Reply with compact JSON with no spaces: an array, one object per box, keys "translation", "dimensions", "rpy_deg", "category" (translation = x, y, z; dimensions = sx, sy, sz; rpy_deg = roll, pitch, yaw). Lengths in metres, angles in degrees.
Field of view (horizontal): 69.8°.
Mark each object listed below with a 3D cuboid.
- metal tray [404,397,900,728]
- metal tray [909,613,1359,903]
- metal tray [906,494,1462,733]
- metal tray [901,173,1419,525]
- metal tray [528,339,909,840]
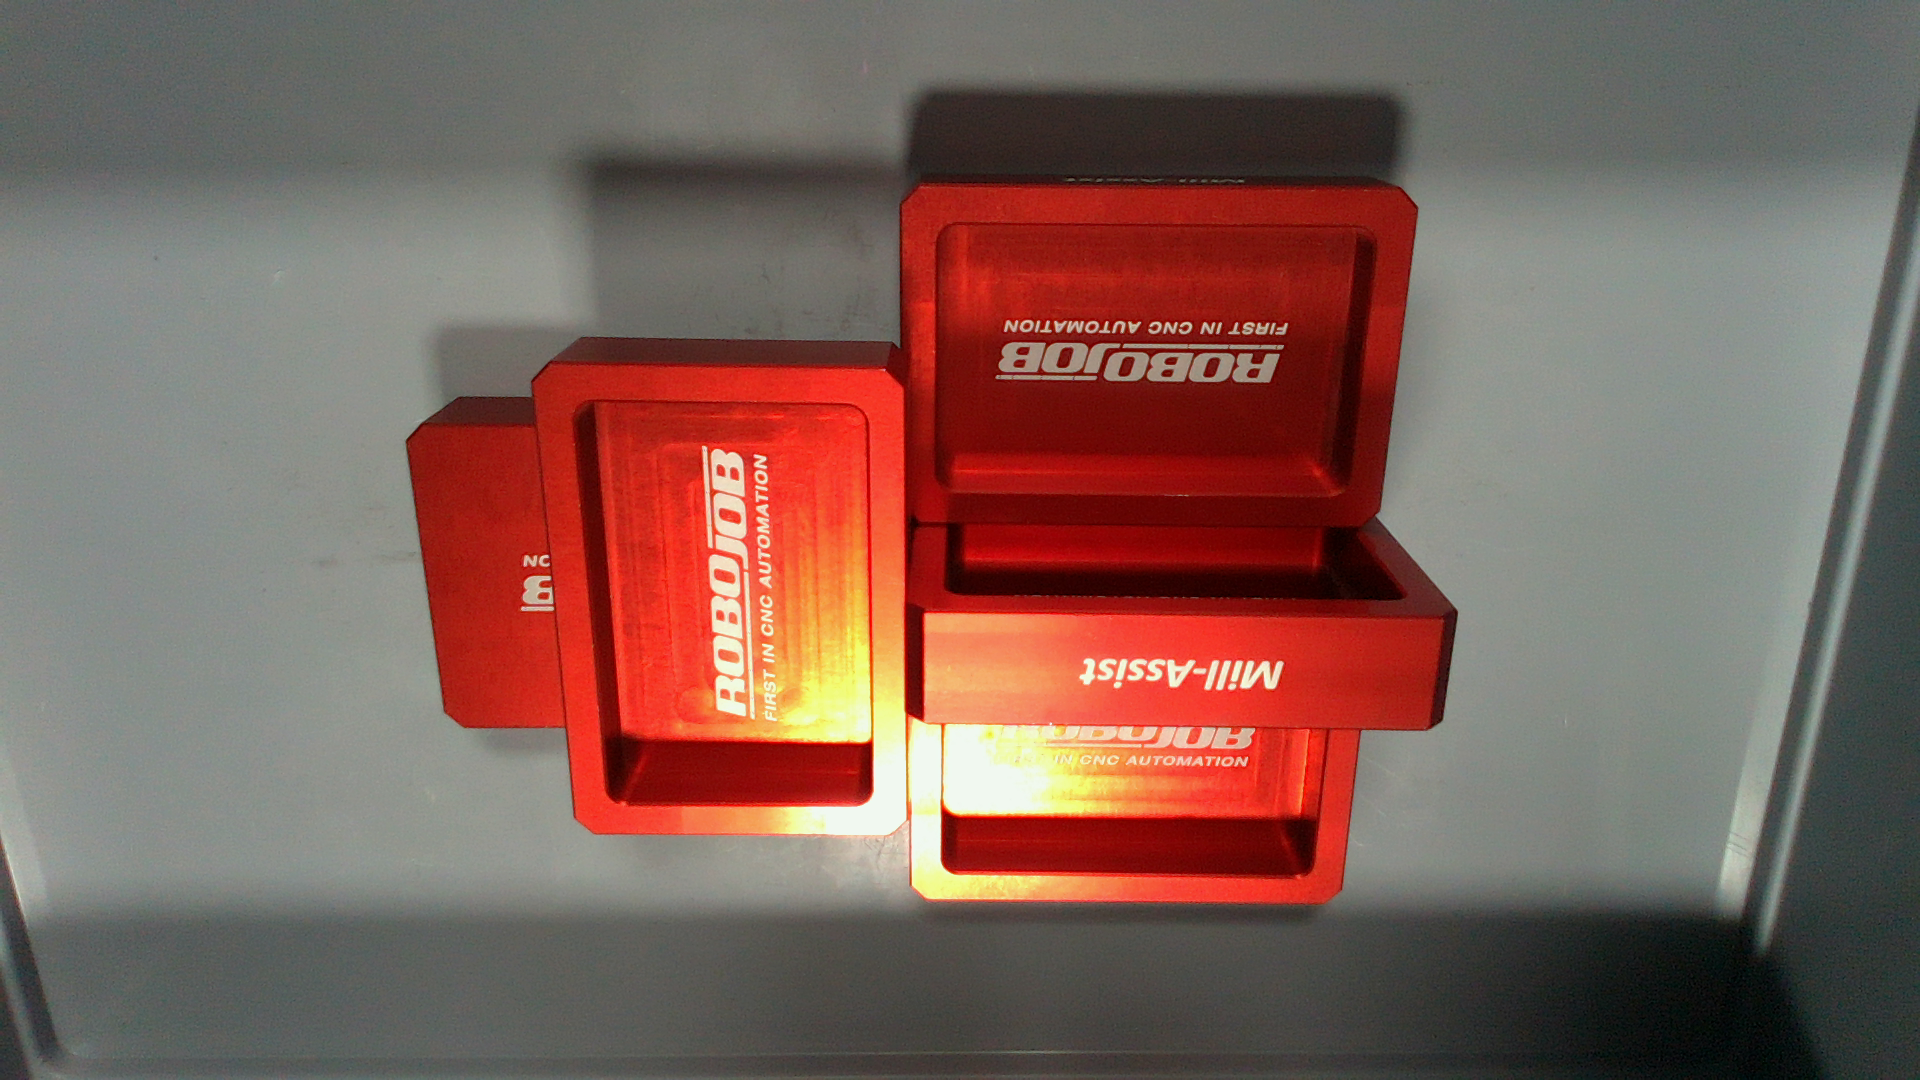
[{"translation":[-0.082,0.007,0.390],"dimensions":[0.130,0.030,0.090],"rpy_deg":[0,110,0],"category":"metal tray"},{"translation":[0.050,0.062,0.413],"dimensions":[0.130,0.030,0.090],"rpy_deg":[1,110,0],"category":"metal tray"},{"translation":[0.052,0.016,0.363],"dimensions":[0.130,0.090,0.030],"rpy_deg":[1,110,0],"category":"metal tray"},{"translation":[0.050,-0.052,0.371],"dimensions":[0.130,0.030,0.090],"rpy_deg":[1,110,0],"category":"metal tray"},{"translation":[-0.059,0.015,0.362],"dimensions":[0.090,0.030,0.130],"rpy_deg":[1,110,-1],"category":"metal tray"}]
